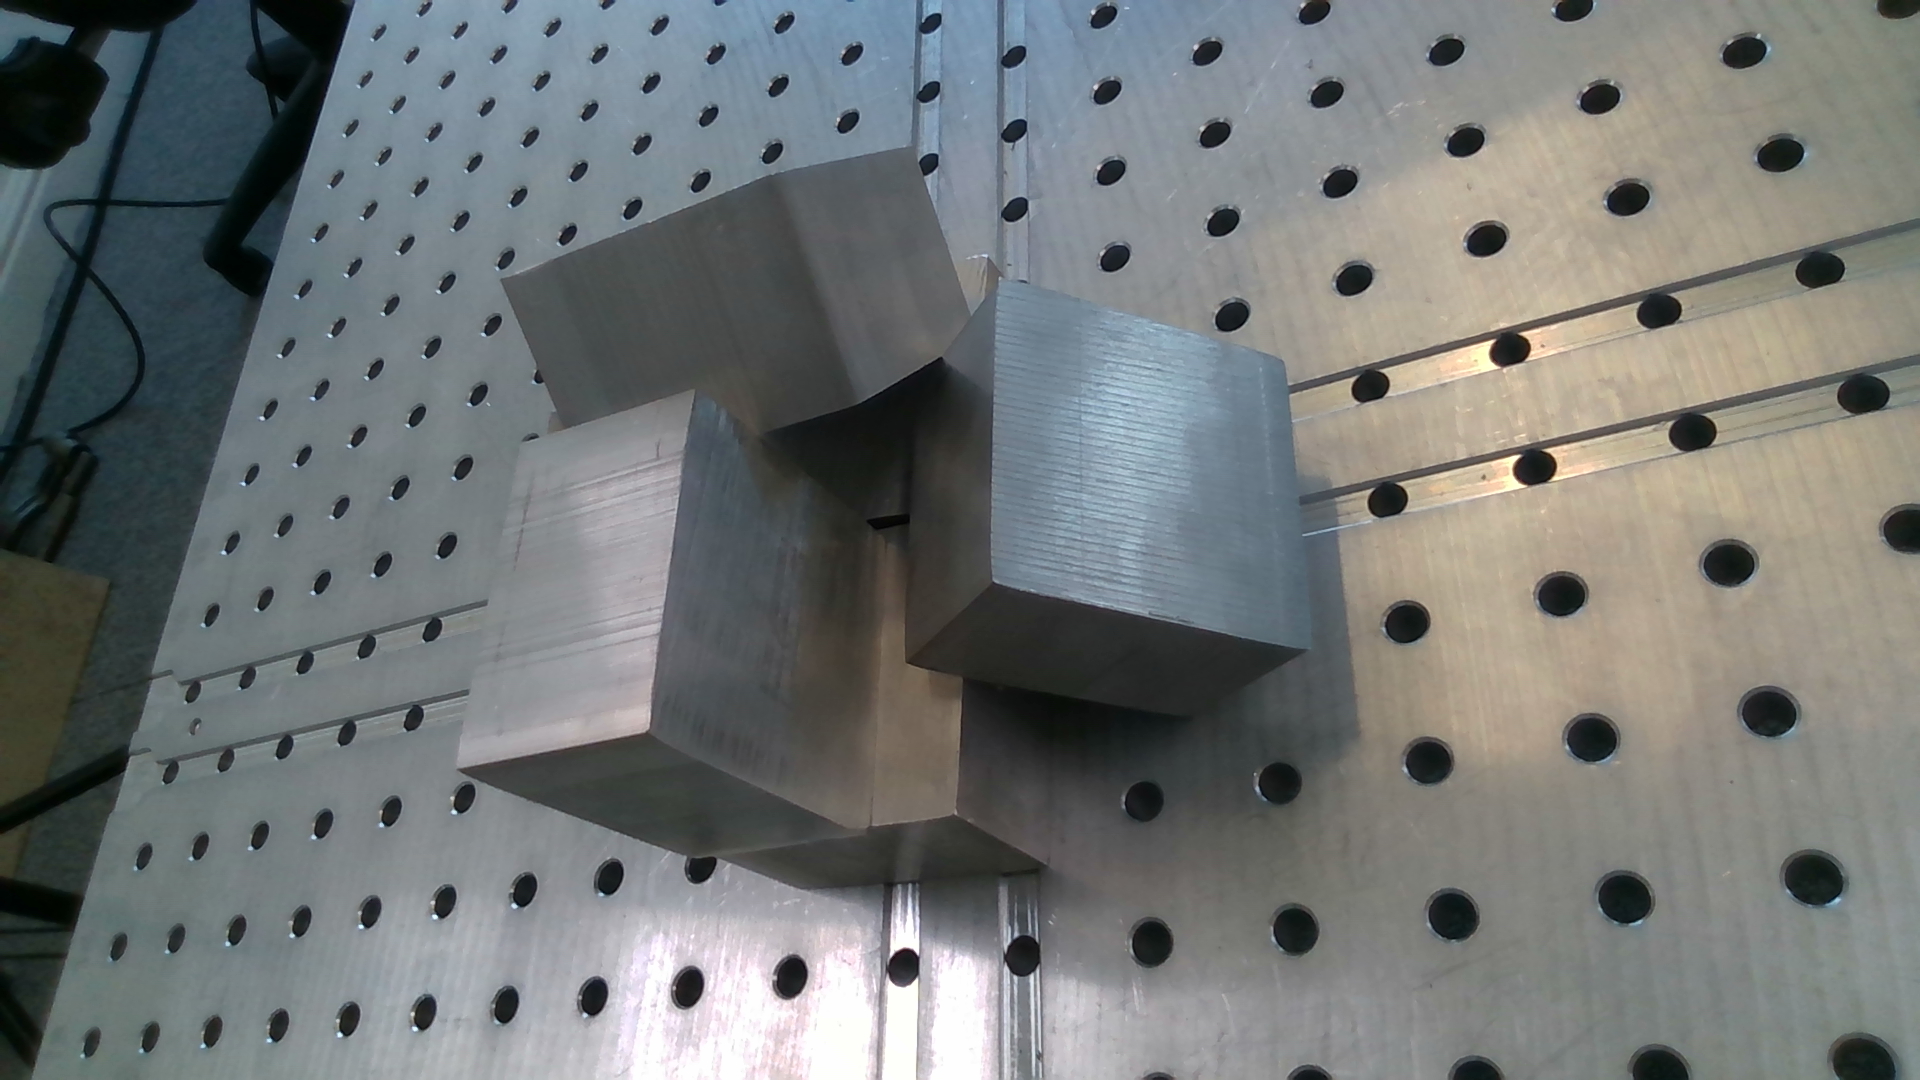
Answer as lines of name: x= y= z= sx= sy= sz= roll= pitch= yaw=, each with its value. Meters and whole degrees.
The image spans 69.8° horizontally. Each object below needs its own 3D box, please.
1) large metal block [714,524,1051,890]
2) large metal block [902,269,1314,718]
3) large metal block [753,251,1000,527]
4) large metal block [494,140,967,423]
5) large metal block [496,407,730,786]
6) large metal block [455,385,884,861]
large metal block: x=-0.023 y=0.045 z=0.369 sx=0.080 sy=0.050 sz=0.080 roll=-12 pitch=60 yaw=26
large metal block: x=0.034 y=-0.009 z=0.334 sx=0.050 sy=0.080 sz=0.080 roll=134 pitch=143 yaw=-56
large metal block: x=-0.019 y=-0.030 z=0.407 sx=0.080 sy=0.050 sz=0.080 roll=-8 pitch=62 yaw=28
large metal block: x=-0.053 y=-0.060 z=0.350 sx=0.080 sy=0.080 sz=0.050 roll=-14 pitch=104 yaw=26
large metal block: x=-0.103 y=0.020 z=0.406 sx=0.080 sy=0.050 sz=0.080 roll=124 pitch=152 yaw=-59
large metal block: x=-0.062 y=0.023 z=0.321 sx=0.050 sy=0.080 sz=0.080 roll=-13 pitch=60 yaw=25
